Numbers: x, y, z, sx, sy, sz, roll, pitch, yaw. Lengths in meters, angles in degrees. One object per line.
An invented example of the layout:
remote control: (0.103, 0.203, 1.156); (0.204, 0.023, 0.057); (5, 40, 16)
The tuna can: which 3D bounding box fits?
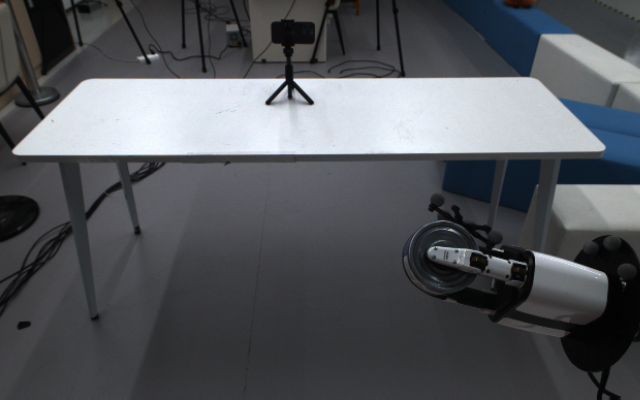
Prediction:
tuna can: (0.146, 0.074, 0.564); (0.085, 0.034, 0.085); (0, 74, -1)
